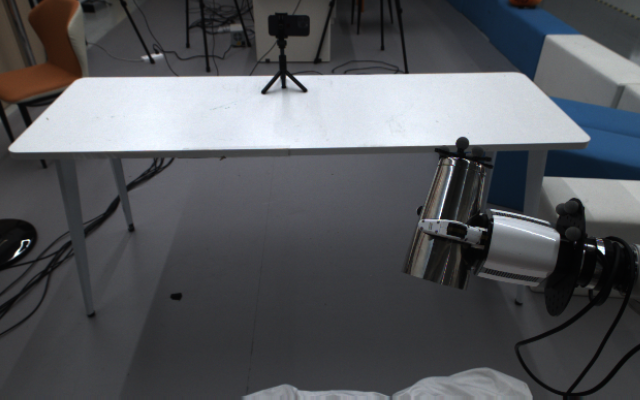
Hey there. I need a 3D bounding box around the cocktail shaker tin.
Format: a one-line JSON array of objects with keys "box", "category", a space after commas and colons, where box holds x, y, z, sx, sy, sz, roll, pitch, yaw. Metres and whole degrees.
[{"box": [0.180, 0.029, 0.679, 0.093, 0.170, 0.093, 16, -4, 1], "category": "cocktail shaker tin"}]
